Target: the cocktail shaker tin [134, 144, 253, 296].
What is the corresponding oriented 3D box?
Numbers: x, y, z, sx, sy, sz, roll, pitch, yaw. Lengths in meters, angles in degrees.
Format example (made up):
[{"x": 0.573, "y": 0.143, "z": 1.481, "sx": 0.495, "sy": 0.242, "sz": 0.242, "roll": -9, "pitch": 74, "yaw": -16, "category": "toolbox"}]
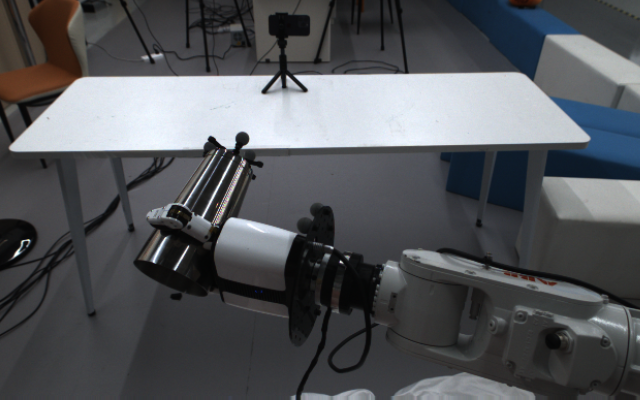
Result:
[{"x": -0.147, "y": 0.023, "z": 0.598, "sx": 0.093, "sy": 0.093, "sz": 0.170, "roll": 13, "pitch": 61, "yaw": 16, "category": "cocktail shaker tin"}]
